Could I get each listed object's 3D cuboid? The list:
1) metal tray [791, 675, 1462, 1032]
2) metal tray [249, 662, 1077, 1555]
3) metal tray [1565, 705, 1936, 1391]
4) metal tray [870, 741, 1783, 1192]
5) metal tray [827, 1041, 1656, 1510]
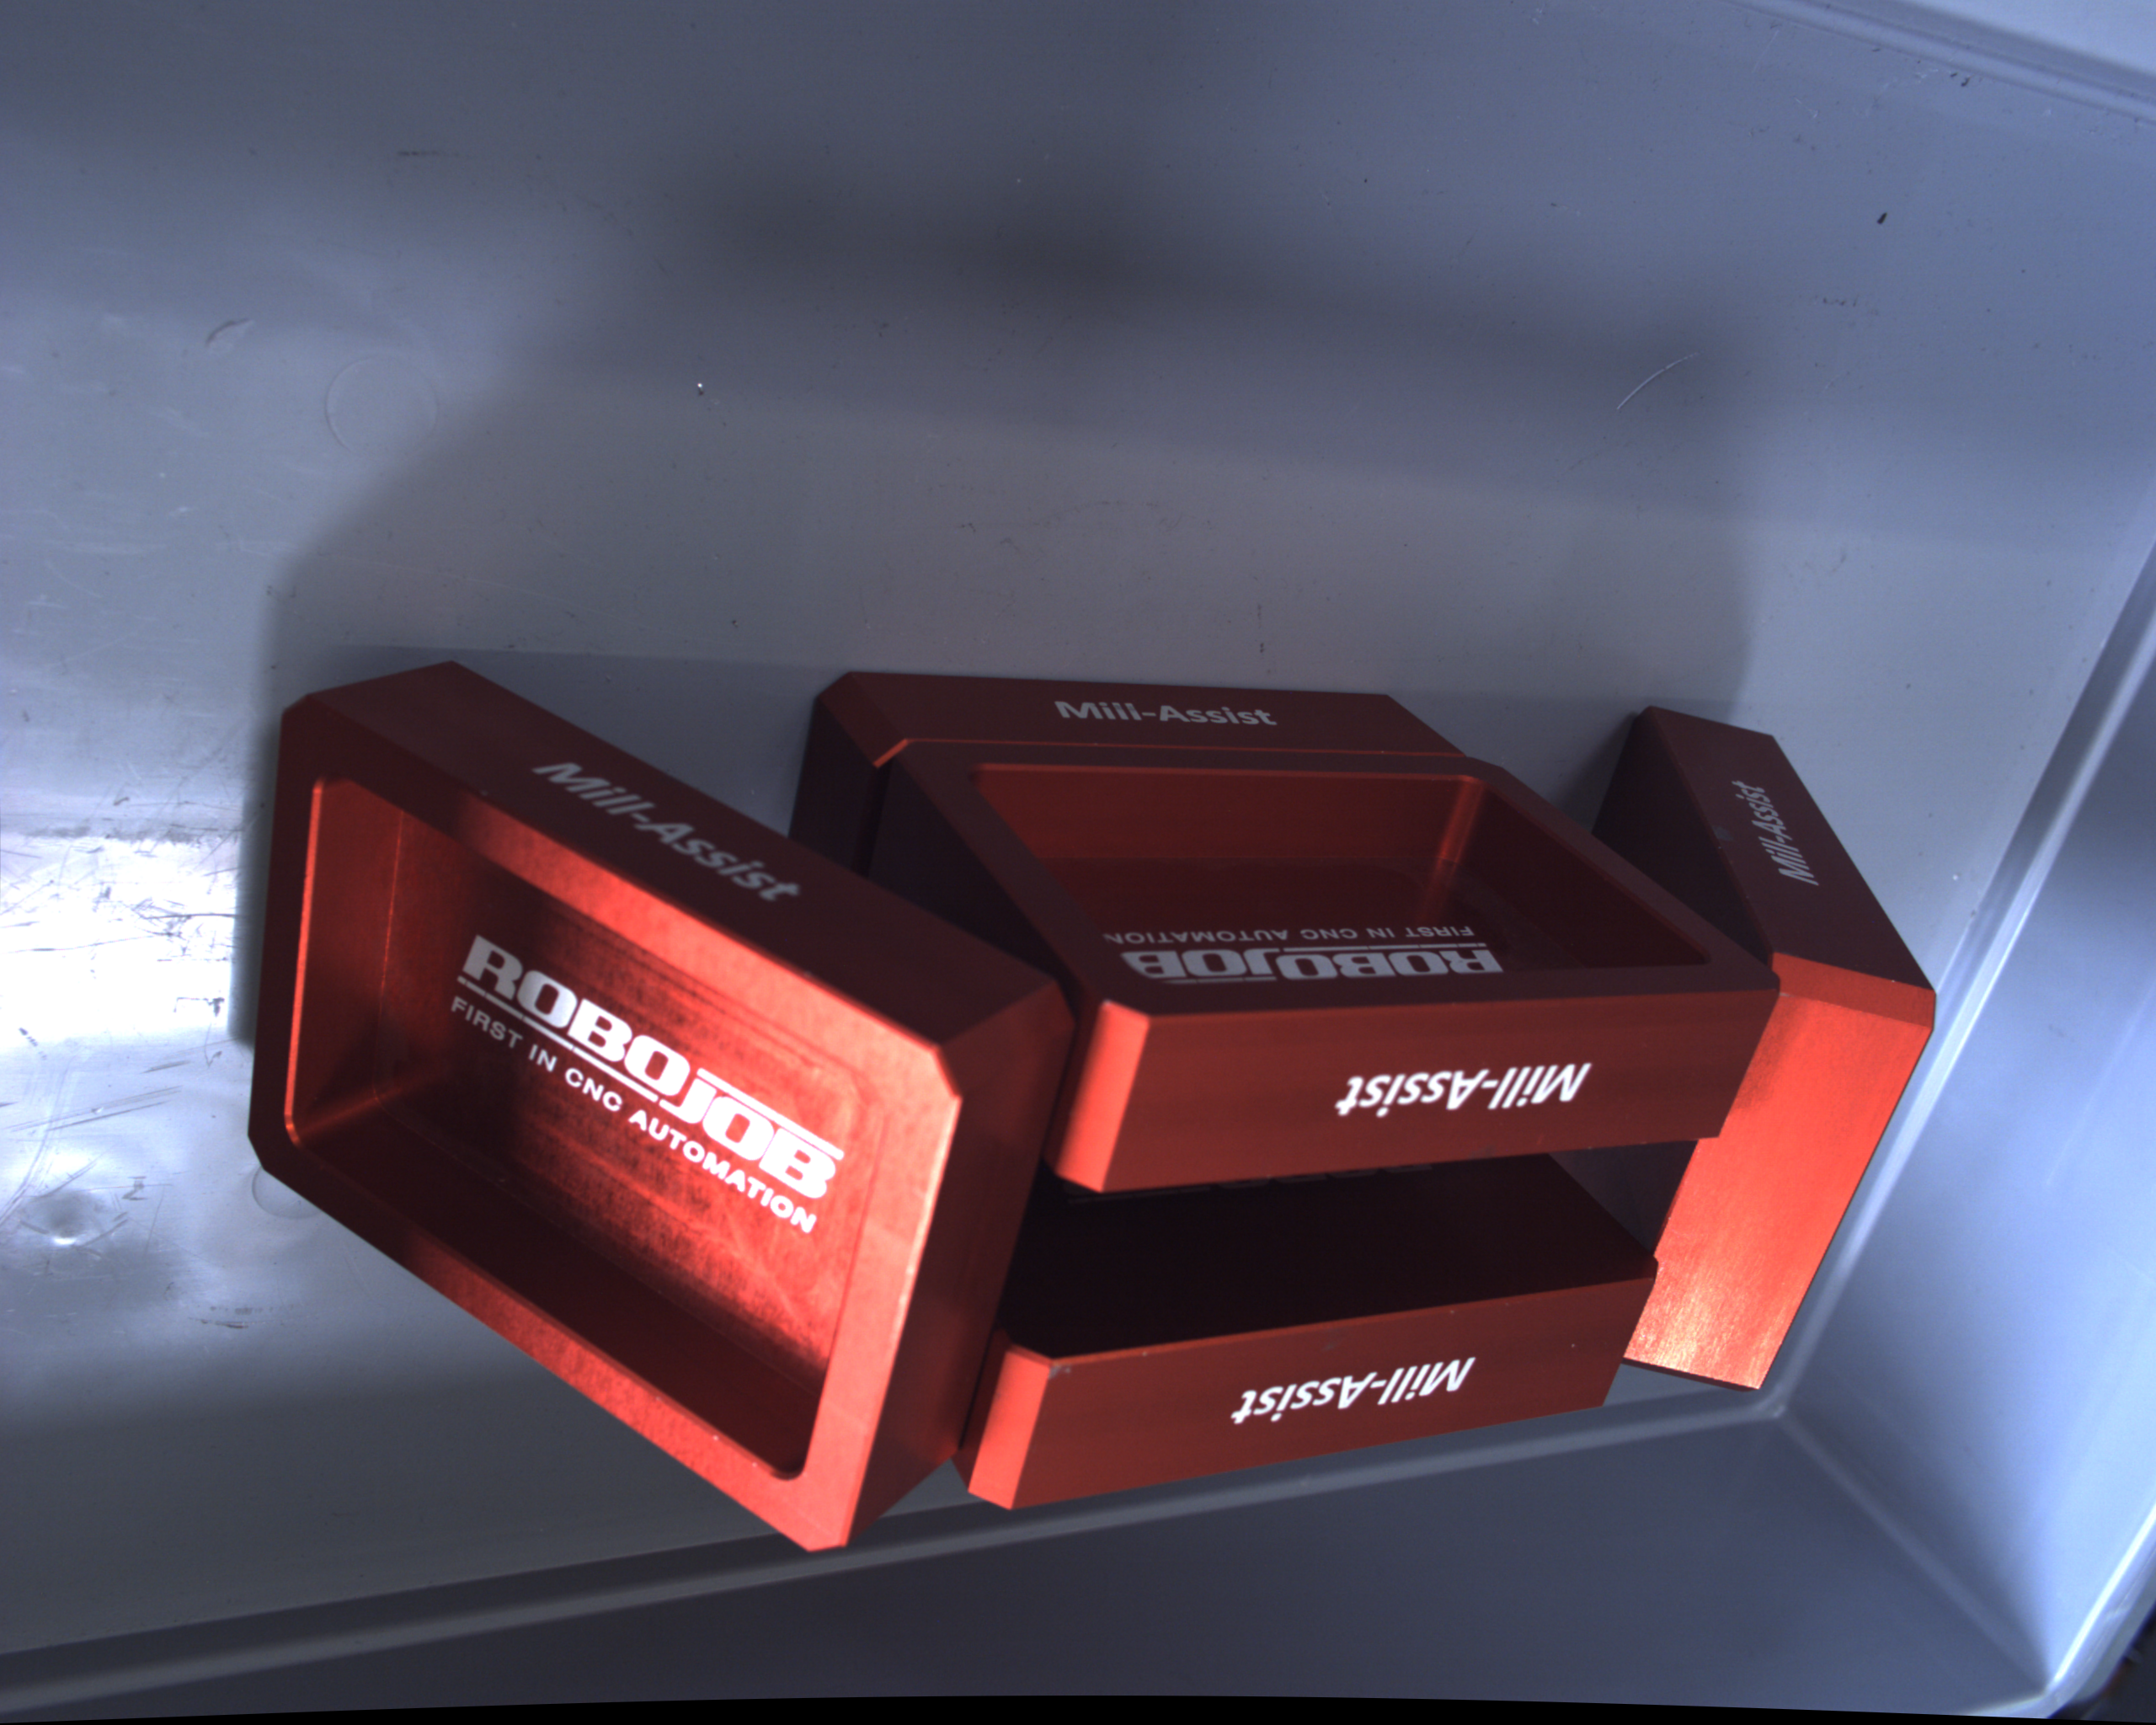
[{"bbox_3d":[0.007,0.011,0.414,0.131,0.030,0.089,-1,119,-29],"label":"metal tray"},{"bbox_3d":[-0.071,0.035,0.324,0.030,0.130,0.089,-26,137,-55],"label":"metal tray"},{"bbox_3d":[0.126,0.033,0.429,0.030,0.130,0.089,14,115,-2],"label":"metal tray"},{"bbox_3d":[0.041,0.013,0.355,0.131,0.090,0.030,0,118,-29],"label":"metal tray"},{"bbox_3d":[0.027,0.066,0.381,0.131,0.090,0.030,-1,118,-29],"label":"metal tray"}]
